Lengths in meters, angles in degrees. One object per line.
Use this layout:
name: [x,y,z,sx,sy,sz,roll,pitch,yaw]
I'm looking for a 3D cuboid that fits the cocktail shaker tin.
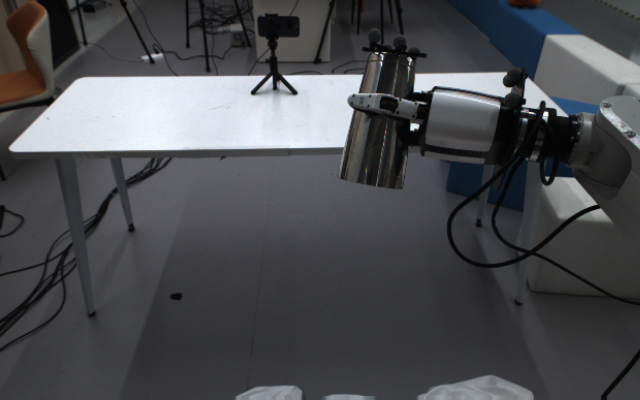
cocktail shaker tin: [0.085,-0.107,0.657,0.093,0.170,0.093,9,7,-1]
